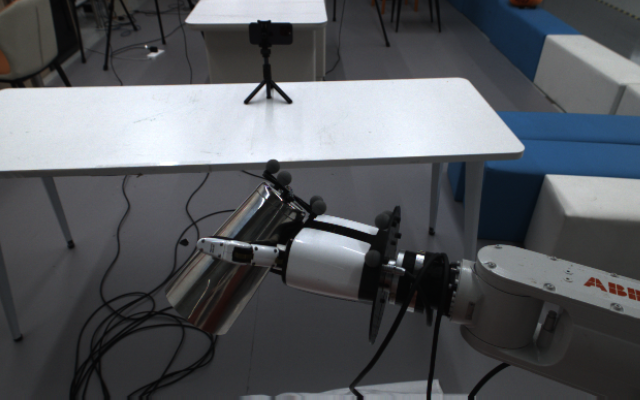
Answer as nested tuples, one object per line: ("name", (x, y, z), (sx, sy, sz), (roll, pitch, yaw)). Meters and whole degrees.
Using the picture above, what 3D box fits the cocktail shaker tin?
("cocktail shaker tin", (-0.093, 0.061, 0.579), (0.170, 0.093, 0.093), (-50, 46, 4))
